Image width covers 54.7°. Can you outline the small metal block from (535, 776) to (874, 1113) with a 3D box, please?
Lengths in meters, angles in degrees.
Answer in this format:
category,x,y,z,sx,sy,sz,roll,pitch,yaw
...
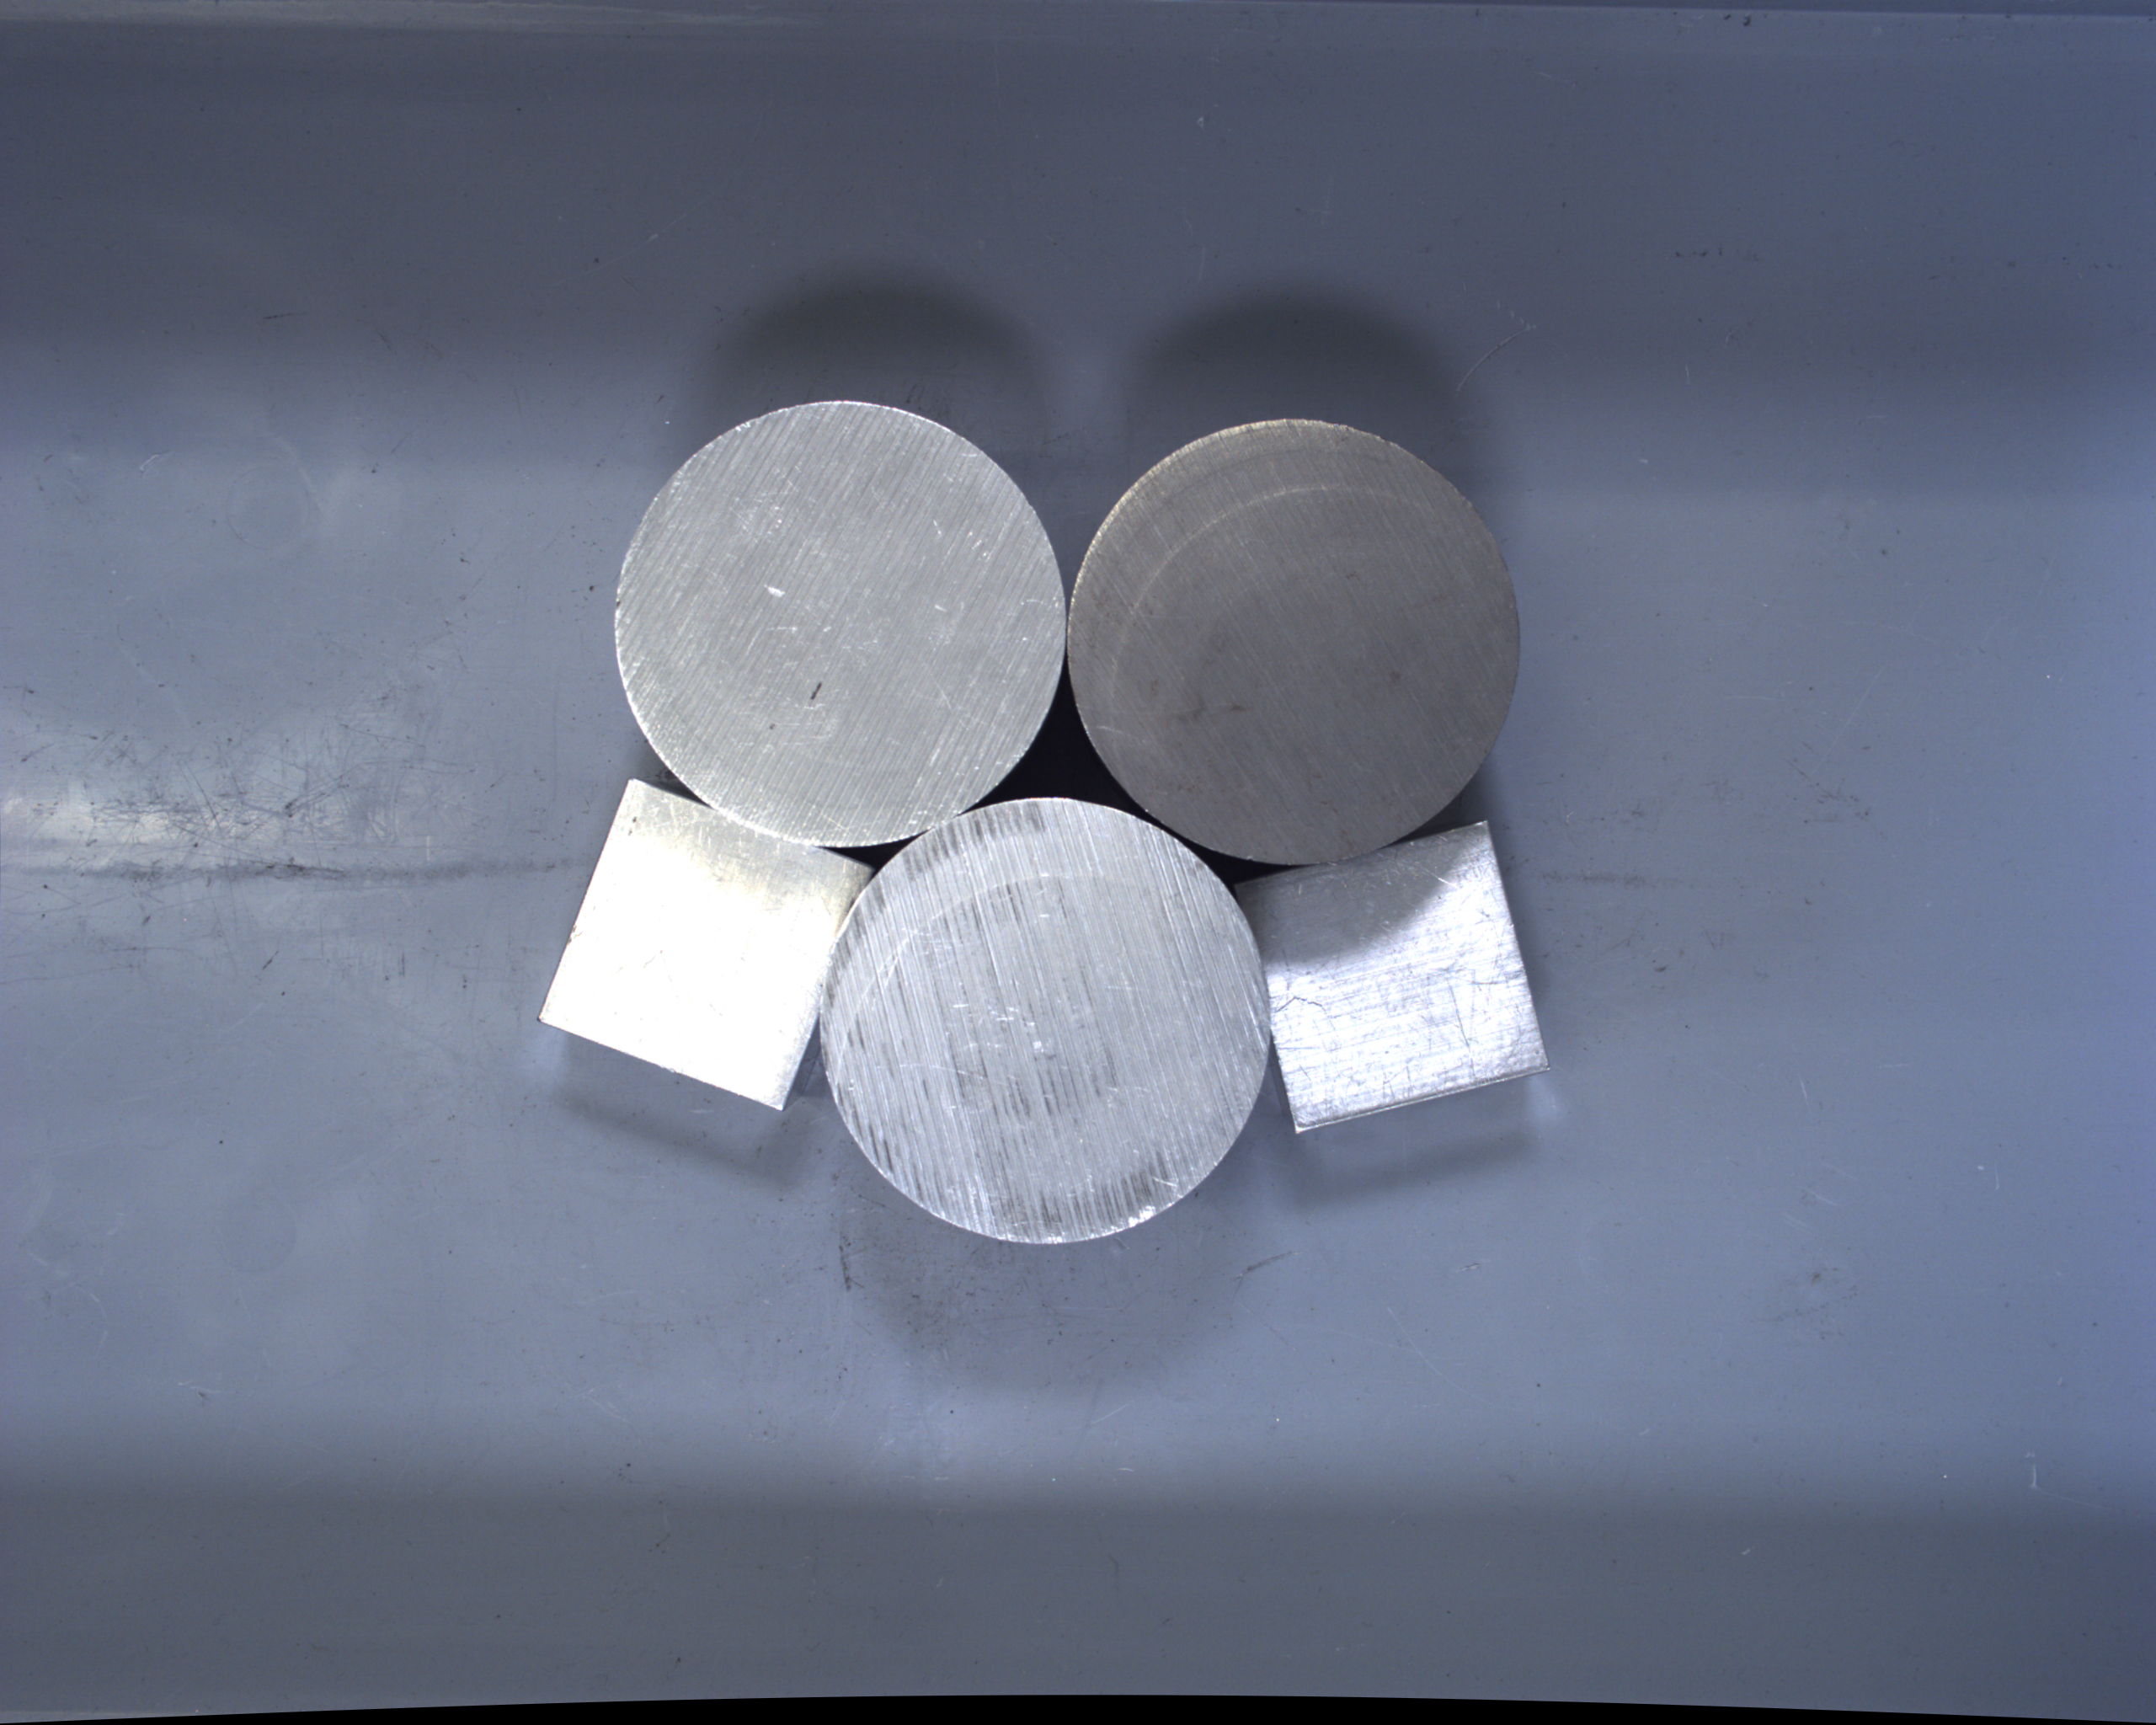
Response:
category,x,y,z,sx,sy,sz,roll,pitch,yaw
small metal block,-0.071,0.016,0.409,0.050,0.025,0.050,21,90,0

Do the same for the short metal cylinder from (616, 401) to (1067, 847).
category,x,y,z,sx,sy,sz,roll,pitch,yaw
short metal cylinder,-0.042,-0.043,0.397,0.081,0.050,0.079,0,90,0

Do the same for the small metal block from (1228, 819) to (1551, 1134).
category,x,y,z,sx,sy,sz,roll,pitch,yaw
small metal block,0.060,0.022,0.411,0.050,0.025,0.050,-14,90,0

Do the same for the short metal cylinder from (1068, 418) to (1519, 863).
category,x,y,z,sx,sy,sz,roll,pitch,yaw
short metal cylinder,0.039,-0.040,0.398,0.081,0.050,0.079,0,90,0

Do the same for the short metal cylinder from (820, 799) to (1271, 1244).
category,x,y,z,sx,sy,sz,roll,pitch,yaw
short metal cylinder,-0.006,0.028,0.397,0.081,0.050,0.079,0,90,0
